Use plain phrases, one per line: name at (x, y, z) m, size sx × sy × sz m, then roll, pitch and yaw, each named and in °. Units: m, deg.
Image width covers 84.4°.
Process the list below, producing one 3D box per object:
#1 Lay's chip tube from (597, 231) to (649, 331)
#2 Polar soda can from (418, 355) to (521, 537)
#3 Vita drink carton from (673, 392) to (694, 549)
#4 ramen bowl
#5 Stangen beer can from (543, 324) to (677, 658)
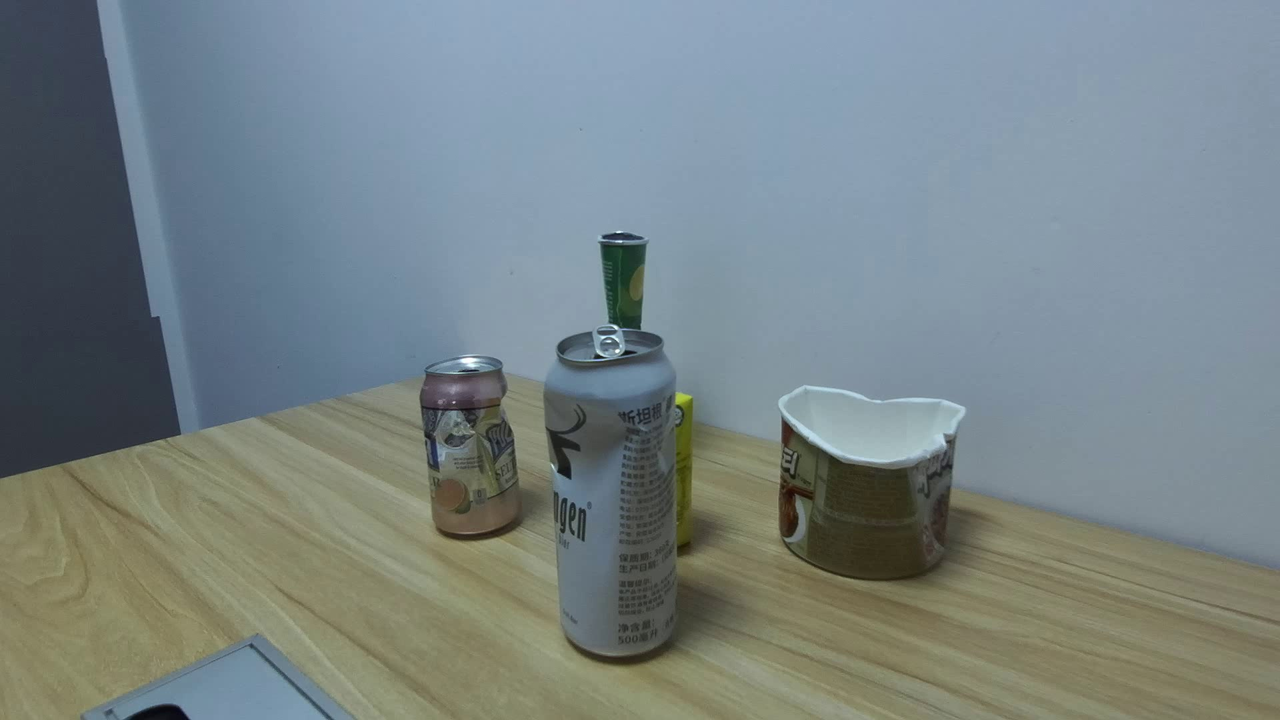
Lay's chip tube at (-0.013, -0.007, 0.613) m, size 0.074 × 0.199 × 0.069 m, roll 11°, pitch 20°, yaw 41°
Polar soda can at (-0.125, 0.067, 0.520) m, size 0.067 × 0.122 × 0.074 m, roll 5°, pitch 12°, yaw 44°
Vita drink carton at (0.002, 0.074, 0.488) m, size 0.043 × 0.109 × 0.076 m, roll -14°, pitch 21°, yaw -40°
ramen bowl at (0.148, 0.081, 0.472) m, size 0.113 × 0.097 × 0.134 m, roll 7°, pitch 15°, yaw 24°
Stangen beer can at (-0.015, 0.070, 0.374) m, size 0.069 × 0.173 × 0.070 m, roll -1°, pitch 16°, yaw 0°
